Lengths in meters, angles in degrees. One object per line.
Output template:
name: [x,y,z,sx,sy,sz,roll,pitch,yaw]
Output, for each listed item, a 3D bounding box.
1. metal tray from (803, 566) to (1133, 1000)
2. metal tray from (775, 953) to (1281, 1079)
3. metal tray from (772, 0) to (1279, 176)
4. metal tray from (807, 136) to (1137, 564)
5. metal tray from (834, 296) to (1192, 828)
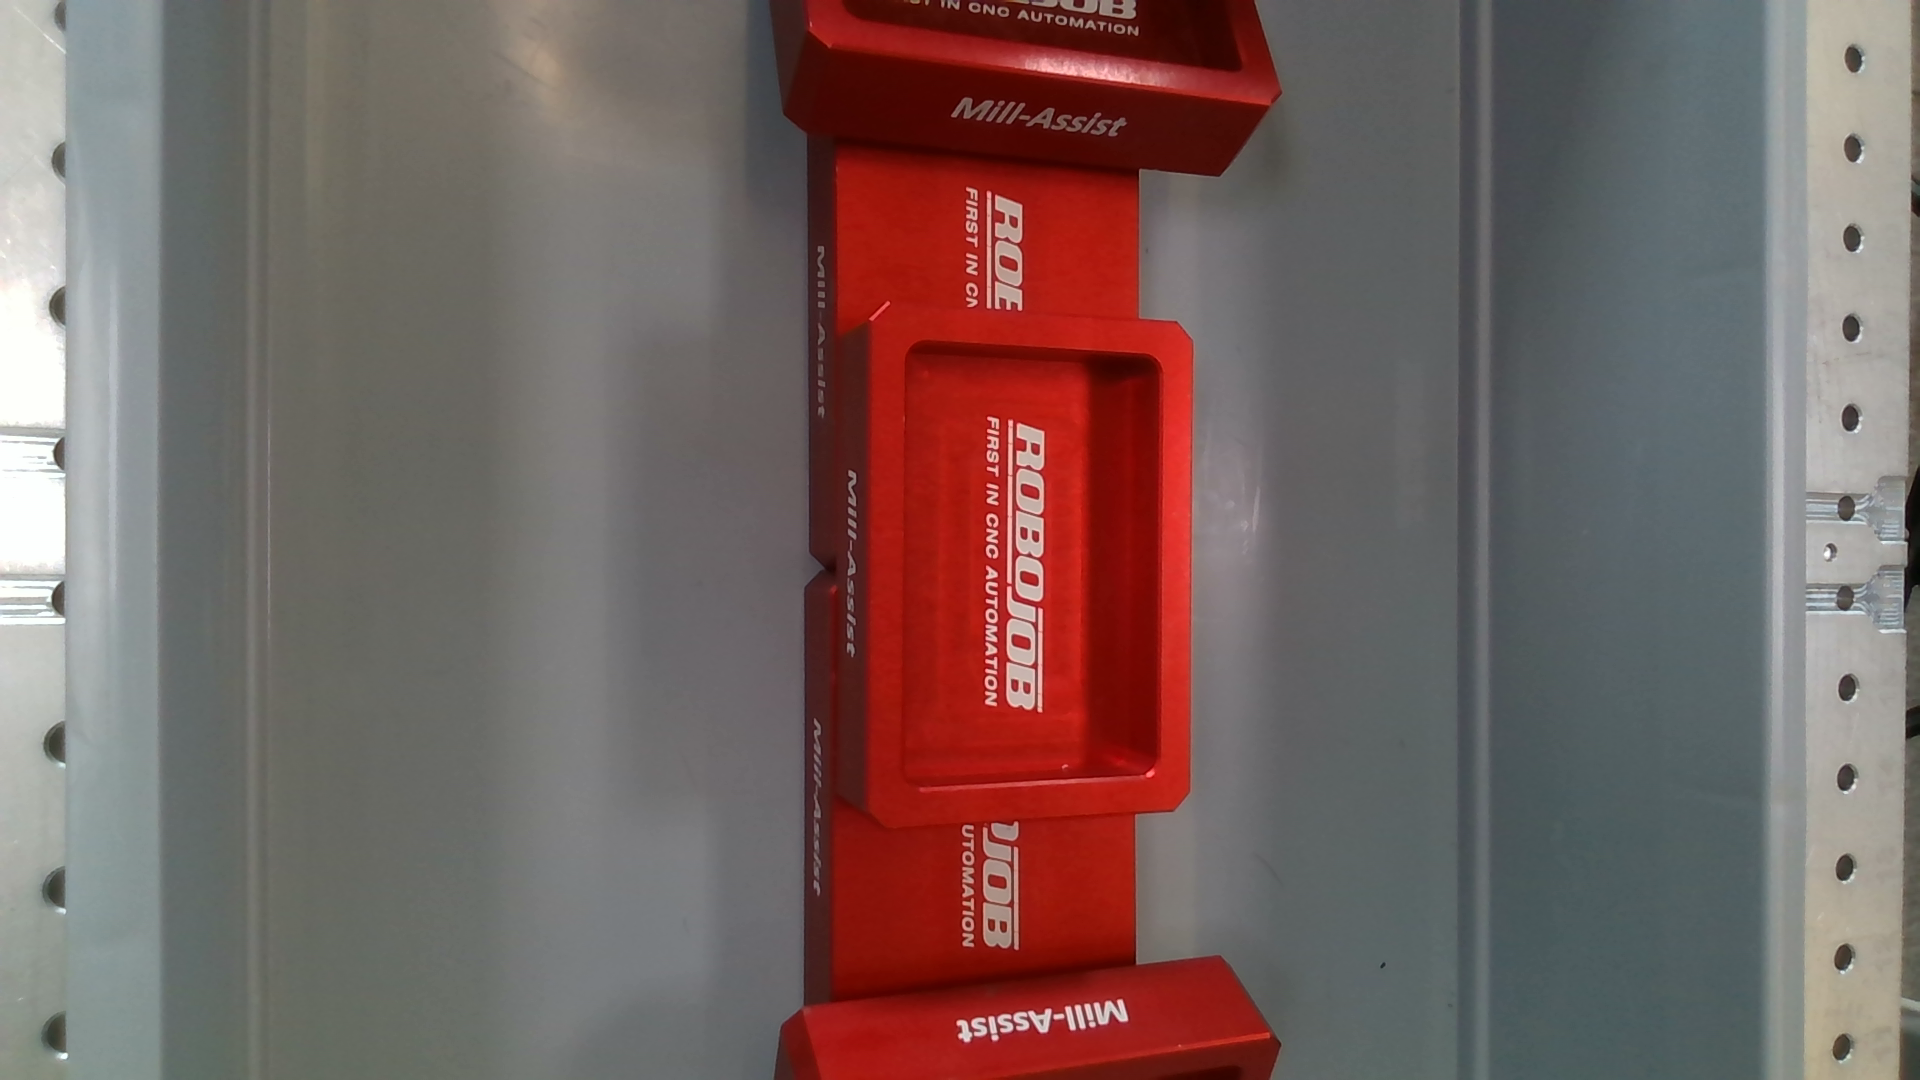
metal tray: [0.003,0.072,0.392,0.090,0.030,0.130,0,90,-20]
metal tray: [0.014,0.163,0.376,0.130,0.030,0.090,0,118,-20]
metal tray: [0.015,-0.150,0.376,0.130,0.030,0.090,0,64,-20]
metal tray: [0.004,-0.058,0.392,0.090,0.030,0.130,0,90,-20]
metal tray: [0.014,0.006,0.363,0.090,0.030,0.130,0,90,-21]
